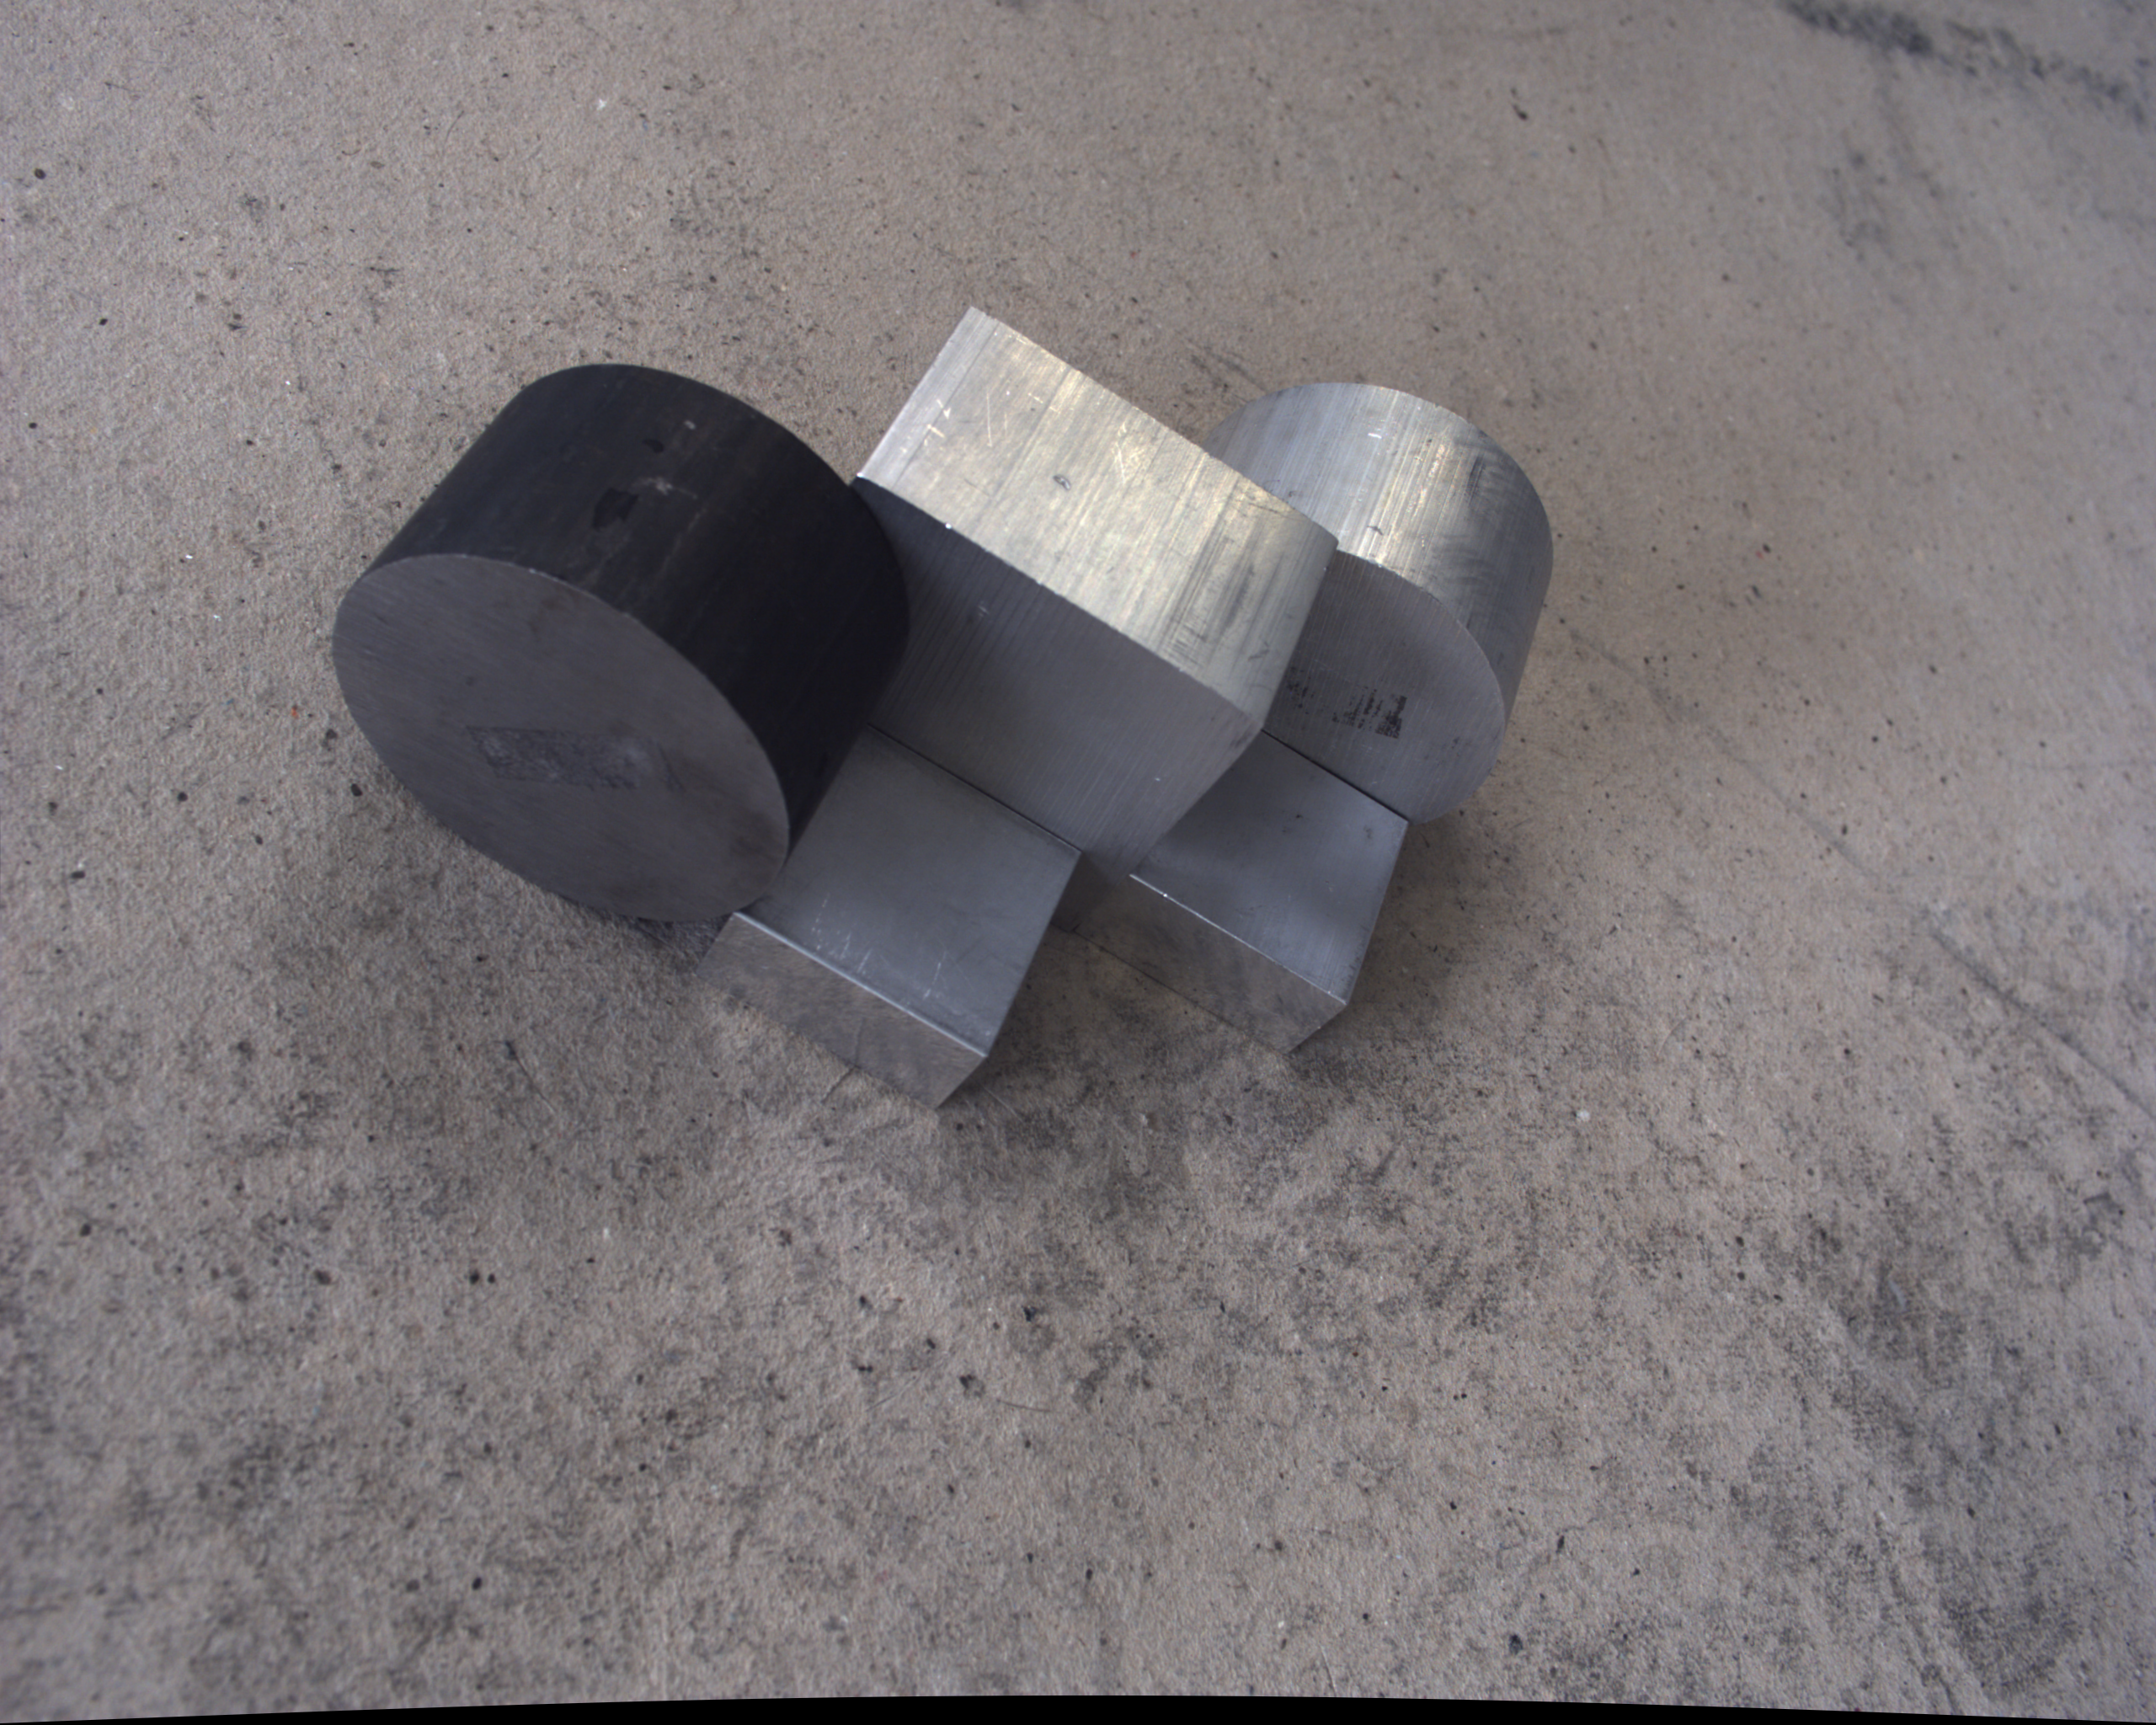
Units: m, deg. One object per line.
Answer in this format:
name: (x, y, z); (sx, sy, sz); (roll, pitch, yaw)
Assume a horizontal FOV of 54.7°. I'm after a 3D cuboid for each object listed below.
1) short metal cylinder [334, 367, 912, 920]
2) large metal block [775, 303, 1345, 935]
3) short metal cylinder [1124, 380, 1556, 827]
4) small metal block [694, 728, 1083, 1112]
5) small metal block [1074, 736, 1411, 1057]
short metal cylinder: (-0.075, -0.035, 0.351); (0.080, 0.080, 0.050); (31, 52, -9)
large metal block: (-0.010, -0.042, 0.391); (0.080, 0.080, 0.050); (31, 52, -9)
short metal cylinder: (0.053, -0.051, 0.430); (0.080, 0.080, 0.050); (31, 52, -9)
small metal block: (-0.034, 0.009, 0.382); (0.050, 0.025, 0.050); (31, 52, -8)
small metal block: (0.034, 0.003, 0.422); (0.050, 0.025, 0.050); (31, 52, -8)
